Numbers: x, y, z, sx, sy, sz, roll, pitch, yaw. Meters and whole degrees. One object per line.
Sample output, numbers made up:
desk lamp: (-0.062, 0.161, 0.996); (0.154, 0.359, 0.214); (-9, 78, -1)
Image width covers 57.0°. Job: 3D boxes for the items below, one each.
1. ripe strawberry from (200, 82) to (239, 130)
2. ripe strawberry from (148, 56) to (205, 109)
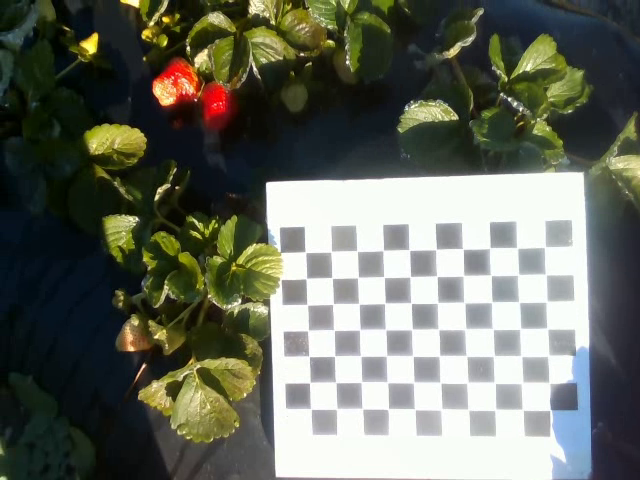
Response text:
ripe strawberry: (-0.121, -0.159, 0.677); (0.043, 0.059, 0.040); (-2, -4, 5)
ripe strawberry: (-0.169, -0.180, 0.689); (0.052, 0.070, 0.040); (45, -3, -5)
